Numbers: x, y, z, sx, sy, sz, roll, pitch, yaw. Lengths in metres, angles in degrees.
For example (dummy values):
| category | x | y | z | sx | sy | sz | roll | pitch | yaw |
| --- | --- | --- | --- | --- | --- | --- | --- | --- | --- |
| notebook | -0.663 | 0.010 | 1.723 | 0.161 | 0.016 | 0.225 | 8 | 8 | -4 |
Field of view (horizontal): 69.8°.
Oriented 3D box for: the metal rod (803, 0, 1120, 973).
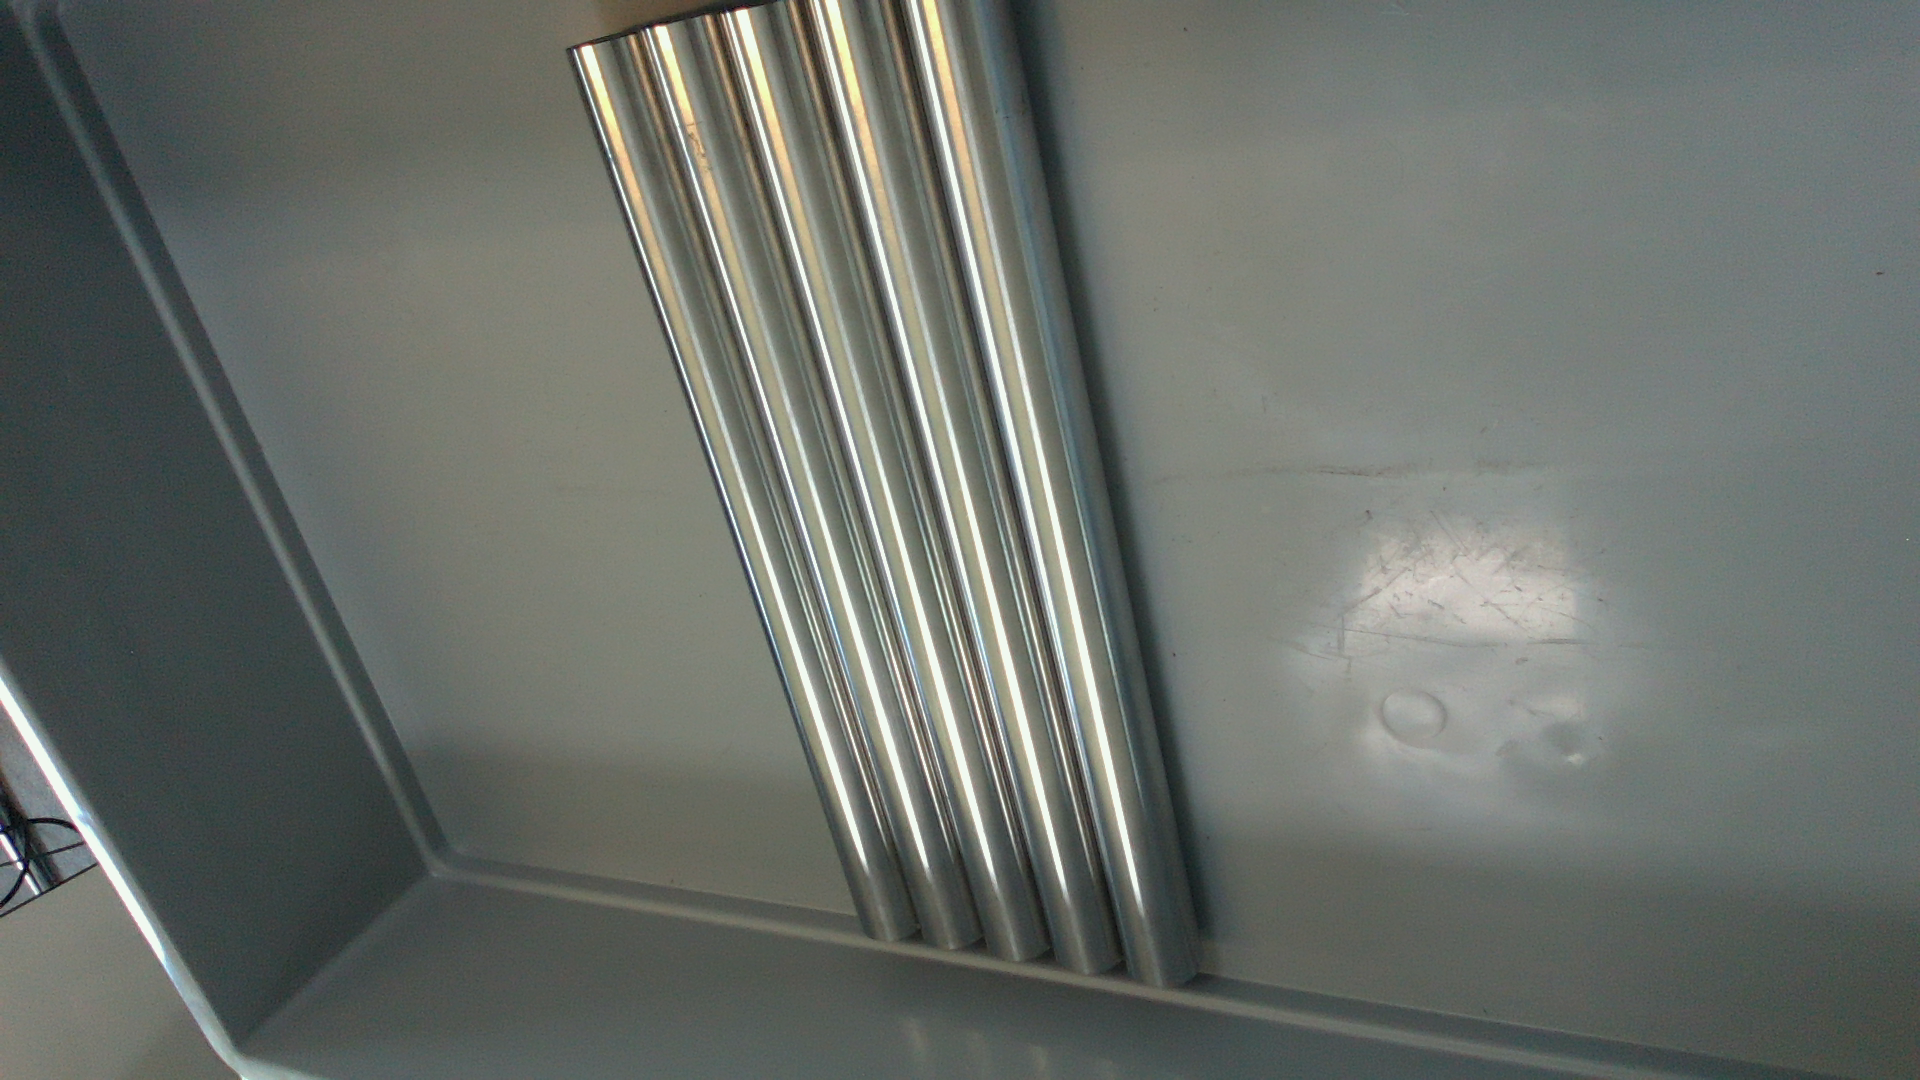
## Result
| category | x | y | z | sx | sy | sz | roll | pitch | yaw |
| --- | --- | --- | --- | --- | --- | --- | --- | --- | --- |
| metal rod | 0.009 | 0.001 | 0.388 | 0.025 | 0.025 | 0.300 | 0 | 119 | 28 |

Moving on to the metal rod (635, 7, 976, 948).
| category | x | y | z | sx | sy | sz | roll | pitch | yaw |
| --- | --- | --- | --- | --- | --- | --- | --- | --- | --- |
| metal rod | -0.036 | 0.000 | 0.411 | 0.025 | 0.025 | 0.300 | 0 | 119 | 28 |

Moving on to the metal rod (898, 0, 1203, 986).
| category | x | y | z | sx | sy | sz | roll | pitch | yaw |
| --- | --- | --- | --- | --- | --- | --- | --- | --- | --- |
| metal rod | 0.031 | 0.001 | 0.376 | 0.025 | 0.025 | 0.300 | 0 | 119 | 28 |

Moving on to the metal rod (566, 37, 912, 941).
| category | x | y | z | sx | sy | sz | roll | pitch | yaw |
| --- | --- | --- | --- | --- | --- | --- | --- | --- | --- |
| metal rod | -0.057 | 0.001 | 0.423 | 0.025 | 0.025 | 0.300 | 0 | 119 | 28 |

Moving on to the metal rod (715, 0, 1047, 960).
| category | x | y | z | sx | sy | sz | roll | pitch | yaw |
| --- | --- | --- | --- | --- | --- | --- | --- | --- | --- |
| metal rod | -0.014 | 0.000 | 0.399 | 0.025 | 0.025 | 0.300 | 0 | 119 | 28 |
